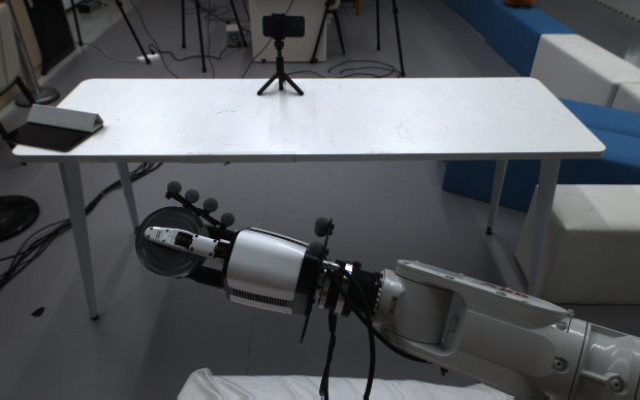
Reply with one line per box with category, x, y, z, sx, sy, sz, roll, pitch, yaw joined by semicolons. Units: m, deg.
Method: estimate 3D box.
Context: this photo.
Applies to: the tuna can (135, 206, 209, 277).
tuna can;-0.179;0.054;0.599;0.085;0.034;0.085;1;75;-4
